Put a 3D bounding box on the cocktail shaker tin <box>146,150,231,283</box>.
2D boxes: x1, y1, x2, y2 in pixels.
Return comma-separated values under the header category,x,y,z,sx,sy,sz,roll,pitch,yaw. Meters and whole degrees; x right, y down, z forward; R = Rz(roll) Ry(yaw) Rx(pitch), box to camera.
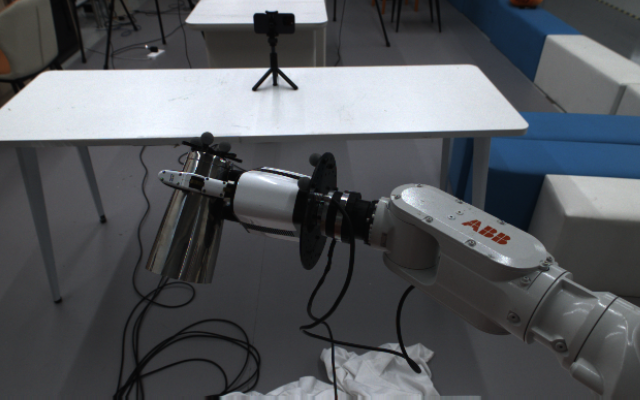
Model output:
category,x,y,z,sx,sy,sz,roll,pitch,yaw
cocktail shaker tin,-0.174,0.021,0.678,0.093,0.170,0.093,15,-5,1
